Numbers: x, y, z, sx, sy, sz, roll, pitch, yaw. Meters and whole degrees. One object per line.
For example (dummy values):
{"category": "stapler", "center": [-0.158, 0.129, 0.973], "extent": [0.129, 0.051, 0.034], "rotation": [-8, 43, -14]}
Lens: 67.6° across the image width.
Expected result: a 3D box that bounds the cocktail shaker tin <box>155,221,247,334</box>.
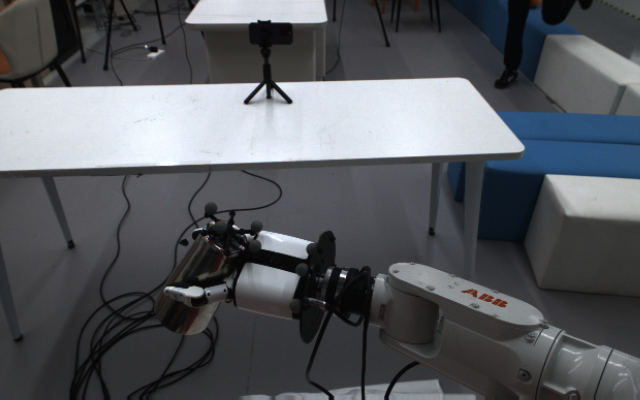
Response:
{"category": "cocktail shaker tin", "center": [-0.171, 0.107, 0.712], "extent": [0.093, 0.170, 0.093], "rotation": [26, 32, -18]}
